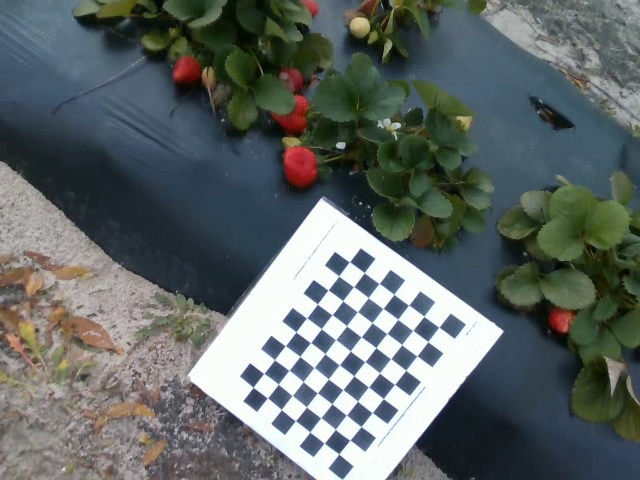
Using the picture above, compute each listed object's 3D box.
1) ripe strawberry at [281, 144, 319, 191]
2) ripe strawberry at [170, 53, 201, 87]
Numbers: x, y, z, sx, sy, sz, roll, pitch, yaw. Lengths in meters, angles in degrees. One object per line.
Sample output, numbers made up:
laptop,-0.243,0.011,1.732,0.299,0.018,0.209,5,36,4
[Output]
ripe strawberry,-0.030,-0.105,0.877,0.057,0.056,0.065,-3,-1,20
ripe strawberry,-0.178,-0.237,0.900,0.043,0.041,0.051,18,43,7
